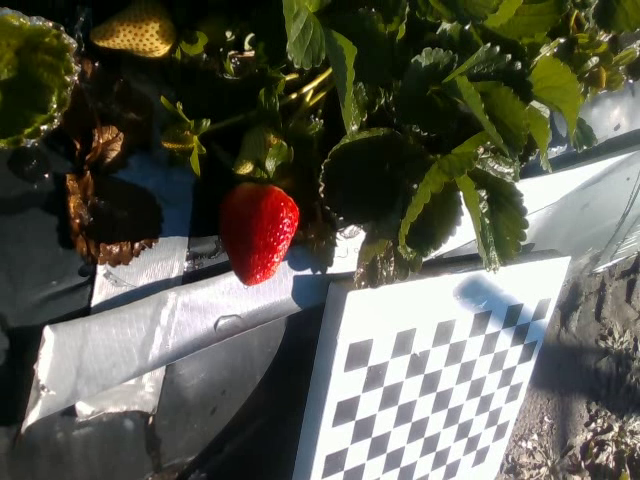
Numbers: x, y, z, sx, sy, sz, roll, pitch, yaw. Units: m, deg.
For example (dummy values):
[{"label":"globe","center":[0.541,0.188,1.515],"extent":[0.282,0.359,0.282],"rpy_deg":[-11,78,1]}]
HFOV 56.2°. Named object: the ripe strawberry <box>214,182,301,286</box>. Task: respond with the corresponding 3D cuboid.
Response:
[{"label":"ripe strawberry","center":[-0.034,0.002,0.369],"extent":[0.057,0.065,0.061],"rpy_deg":[-19,-35,27]}]
